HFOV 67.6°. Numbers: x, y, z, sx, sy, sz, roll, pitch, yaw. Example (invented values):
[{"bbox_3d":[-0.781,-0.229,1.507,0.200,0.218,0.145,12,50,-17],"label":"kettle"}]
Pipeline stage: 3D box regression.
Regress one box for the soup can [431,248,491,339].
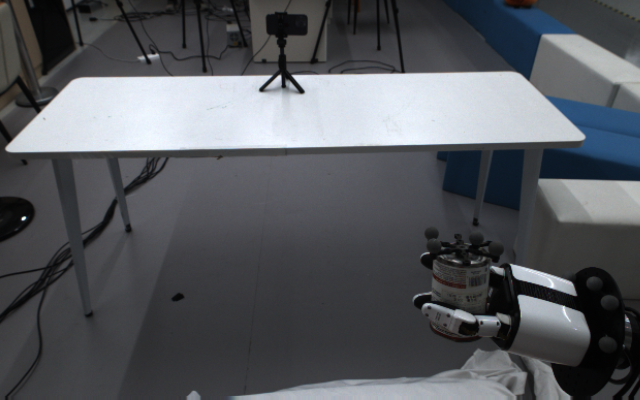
[{"bbox_3d":[0.172,0.112,0.590,0.067,0.101,0.067,-1,16,0],"label":"soup can"}]
